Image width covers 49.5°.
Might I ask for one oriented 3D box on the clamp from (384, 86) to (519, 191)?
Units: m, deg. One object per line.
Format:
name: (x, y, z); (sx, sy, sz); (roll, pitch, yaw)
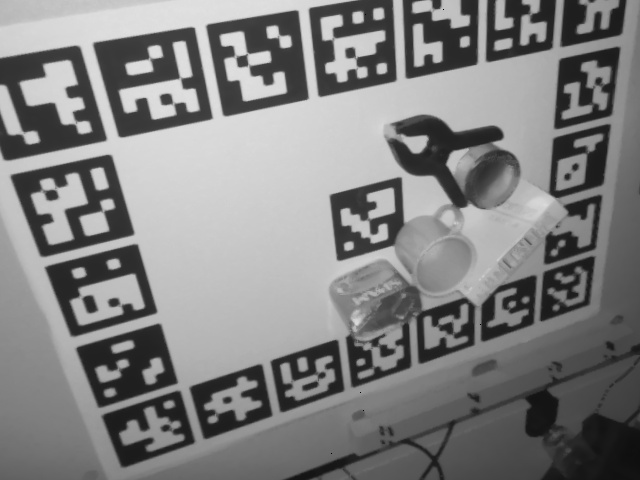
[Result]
clamp: (0.152, -0.140, 0.852); (0.166, 0.036, 0.120); (22, 109, -23)

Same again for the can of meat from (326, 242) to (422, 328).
can of meat: (0.066, 0.054, 0.883); (0.102, 0.083, 0.057); (-21, 121, -8)

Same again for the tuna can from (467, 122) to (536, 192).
tuna can: (0.233, -0.107, 0.892); (0.086, 0.033, 0.085); (-8, 115, -17)

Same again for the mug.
mug: (0.158, -0.011, 0.879); (0.094, 0.081, 0.116); (11, 108, -24)

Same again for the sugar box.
sugar box: (0.246, -0.020, 0.911); (0.176, 0.092, 0.045); (-46, 122, 7)
